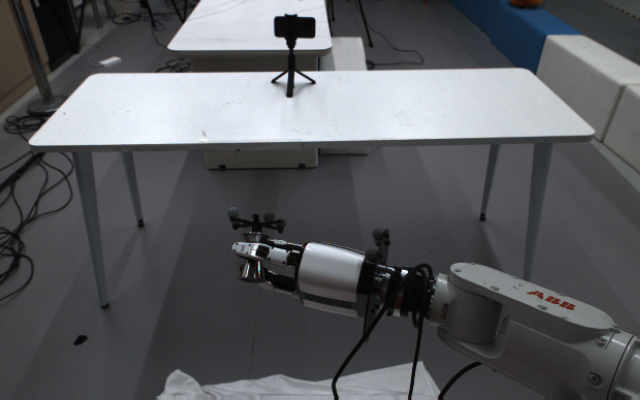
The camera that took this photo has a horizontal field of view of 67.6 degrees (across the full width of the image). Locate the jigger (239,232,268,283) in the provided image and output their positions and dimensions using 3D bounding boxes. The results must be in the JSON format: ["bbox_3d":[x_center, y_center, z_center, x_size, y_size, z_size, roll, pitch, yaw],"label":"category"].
[{"bbox_3d":[-0.098,0.084,0.711,0.043,0.043,0.071,3,72,1],"label":"jigger"}]
